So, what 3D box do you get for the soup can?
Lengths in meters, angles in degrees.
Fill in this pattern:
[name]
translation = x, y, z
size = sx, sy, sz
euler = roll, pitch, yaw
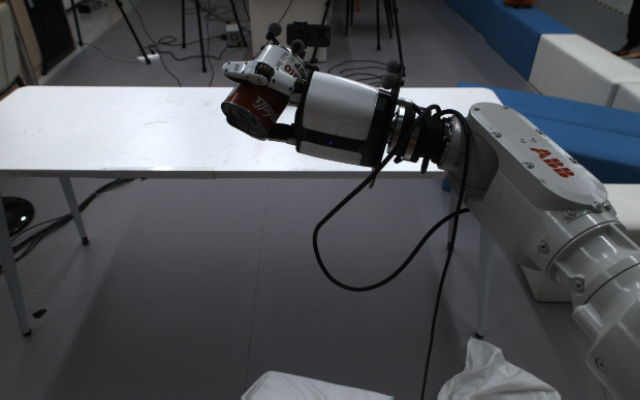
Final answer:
[soup can]
translation = -0.068, -0.138, 0.610
size = 0.067, 0.067, 0.101
euler = 23, 71, 27
